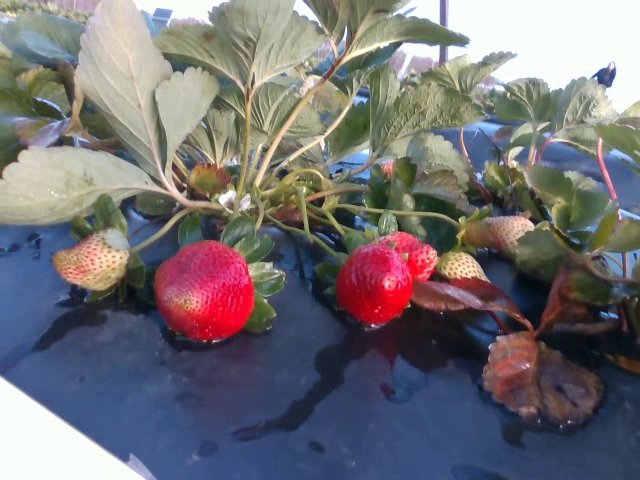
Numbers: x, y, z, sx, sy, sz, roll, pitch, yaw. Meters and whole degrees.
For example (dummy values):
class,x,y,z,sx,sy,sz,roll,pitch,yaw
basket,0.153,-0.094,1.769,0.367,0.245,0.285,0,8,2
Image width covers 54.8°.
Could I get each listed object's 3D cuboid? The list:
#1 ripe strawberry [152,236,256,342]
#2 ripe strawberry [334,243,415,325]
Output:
class,x,y,z,sx,sy,sz,roll,pitch,yaw
ripe strawberry,-0.055,0.021,0.269,0.050,0.050,0.065,-16,-3,7
ripe strawberry,0.027,0.023,0.294,0.044,0.042,0.055,-34,2,-9
